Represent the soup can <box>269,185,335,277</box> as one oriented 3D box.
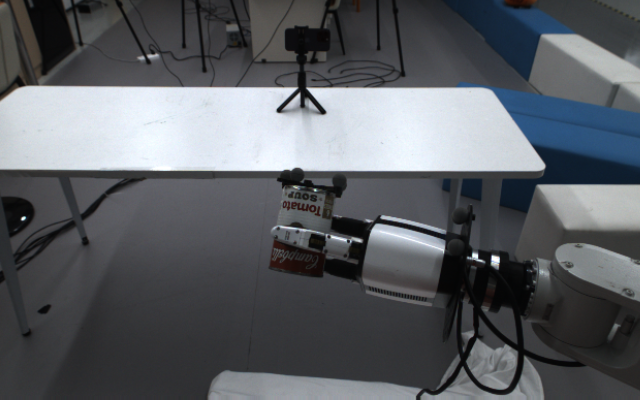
[{"bbox_3d":[-0.019,0.037,0.588,0.067,0.101,0.067,9,-5,1],"label":"soup can"}]
